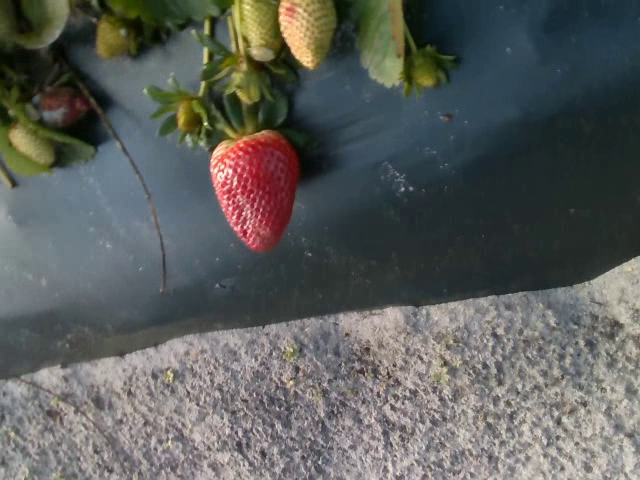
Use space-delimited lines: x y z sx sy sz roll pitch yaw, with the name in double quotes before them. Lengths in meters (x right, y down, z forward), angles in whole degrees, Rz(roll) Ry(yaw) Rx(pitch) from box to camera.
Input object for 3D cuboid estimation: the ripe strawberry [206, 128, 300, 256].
"ripe strawberry" -0.037 -0.025 0.331 0.052 0.068 0.044 -12 -7 26
